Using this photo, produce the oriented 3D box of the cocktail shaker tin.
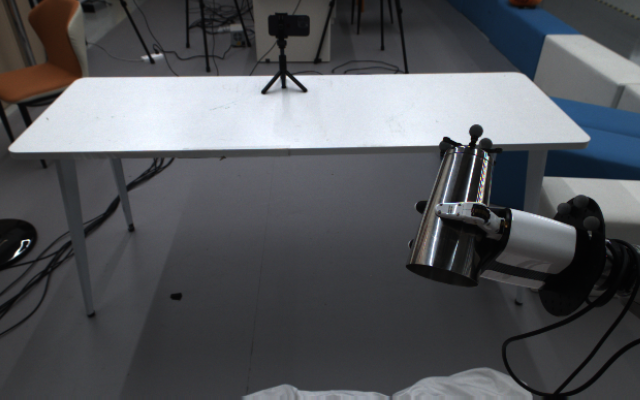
[{"bbox_3d":[0.179,0.018,0.638,0.093,0.093,0.170,14,73,16],"label":"cocktail shaker tin"}]
